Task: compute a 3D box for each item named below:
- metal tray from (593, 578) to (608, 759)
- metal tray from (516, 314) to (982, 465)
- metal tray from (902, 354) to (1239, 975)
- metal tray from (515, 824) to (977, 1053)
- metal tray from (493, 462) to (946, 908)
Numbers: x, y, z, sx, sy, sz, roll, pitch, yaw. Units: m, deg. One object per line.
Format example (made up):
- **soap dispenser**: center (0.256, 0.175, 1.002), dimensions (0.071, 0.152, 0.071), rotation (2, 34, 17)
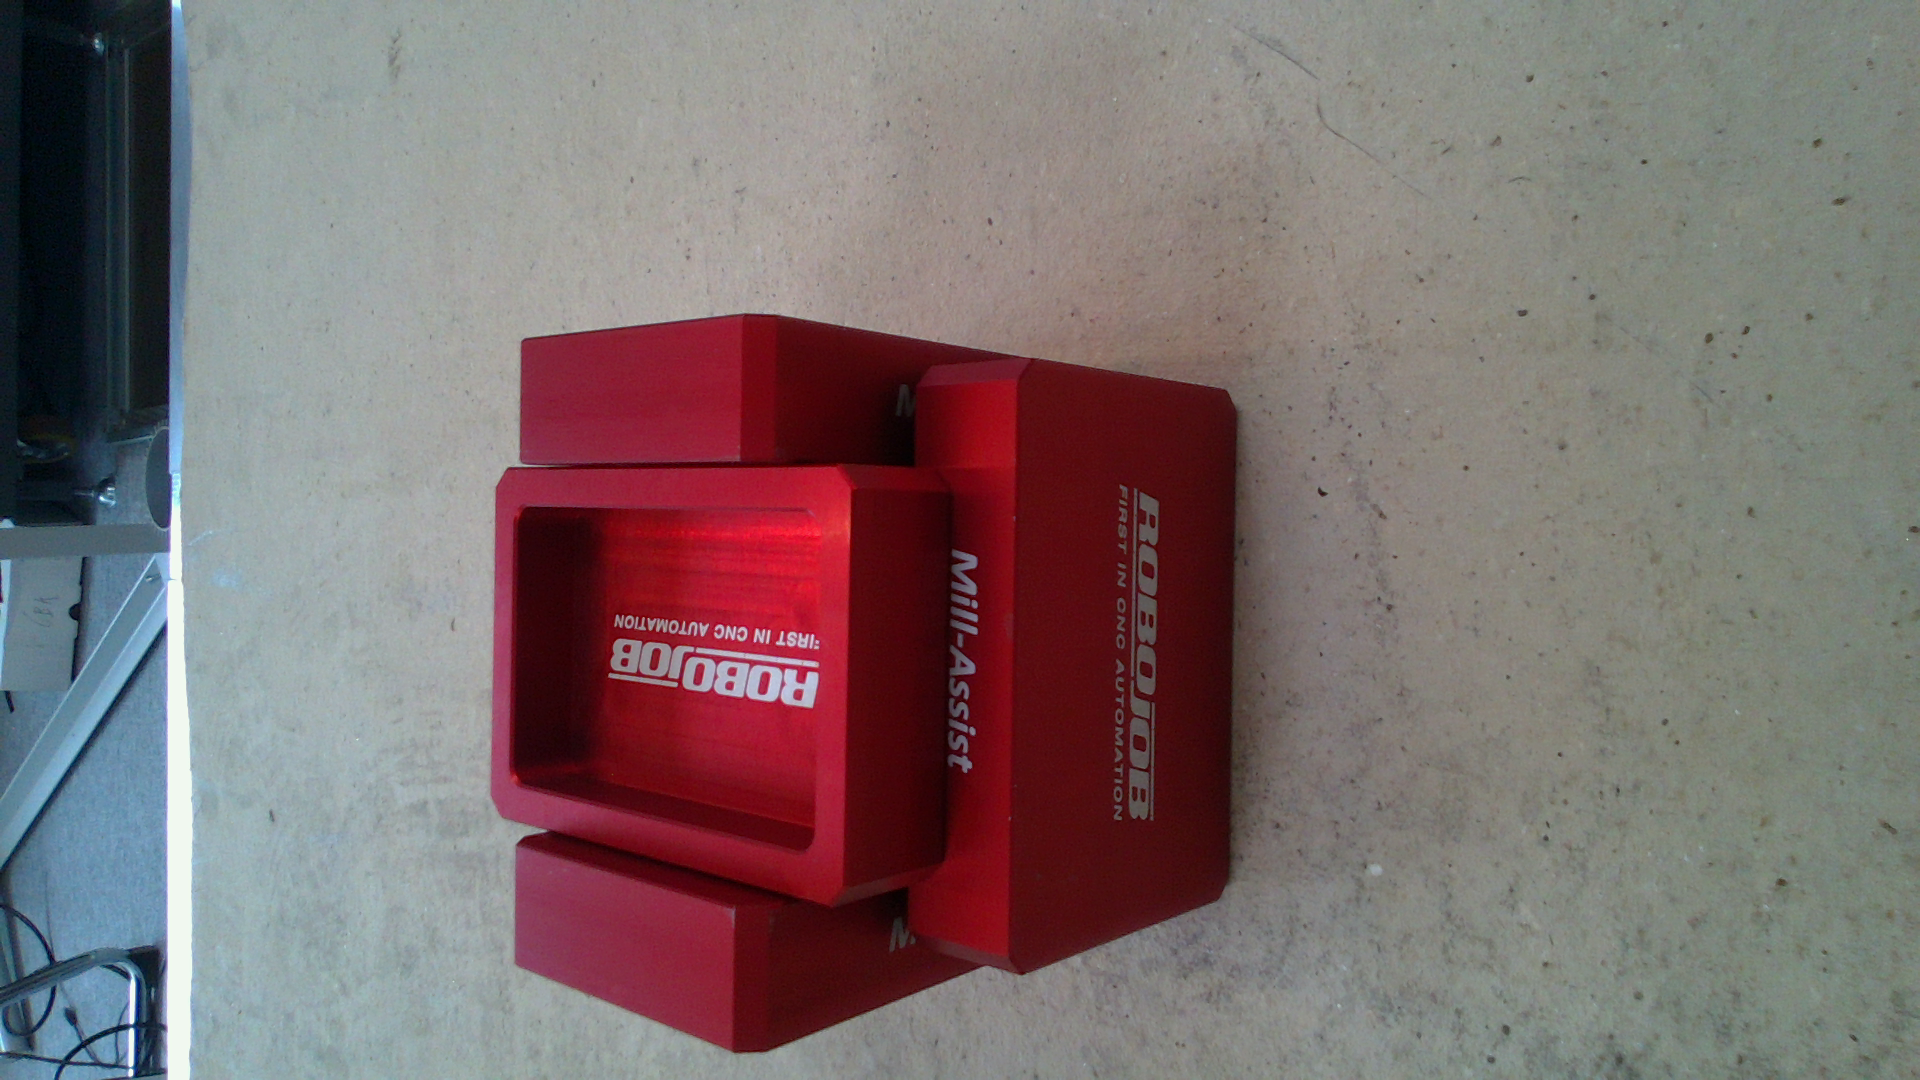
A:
- **metal tray**: center (-0.069, 0.032, 0.410), dimensions (0.030, 0.090, 0.130), rotation (-1, 89, 40)
- **metal tray**: center (-0.033, -0.032, 0.353), dimensions (0.090, 0.131, 0.030), rotation (2, 91, 40)
- **metal tray**: center (0.029, 0.027, 0.327), dimensions (0.030, 0.090, 0.130), rotation (2, 90, 41)
- **metal tray**: center (-0.034, 0.088, 0.355), dimensions (0.090, 0.131, 0.030), rotation (2, 92, 40)
- **metal tray**: center (-0.062, 0.028, 0.326), dimensions (0.129, 0.030, 0.090), rotation (2, 92, 40)
